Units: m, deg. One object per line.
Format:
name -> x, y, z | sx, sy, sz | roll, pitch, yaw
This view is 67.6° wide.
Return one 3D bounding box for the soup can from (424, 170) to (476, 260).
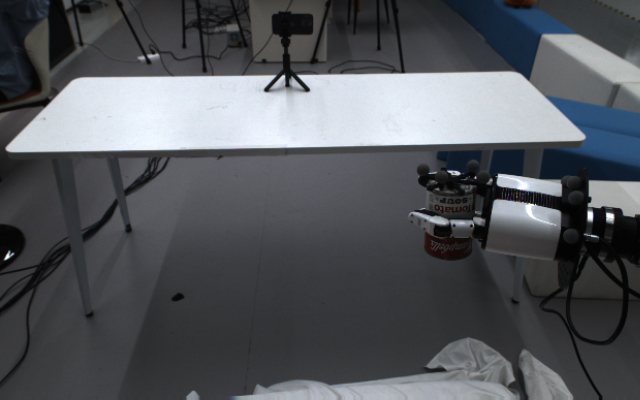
soup can -> 0.183, 0.022, 0.676 | 0.067, 0.101, 0.067 | -3, 26, 2
